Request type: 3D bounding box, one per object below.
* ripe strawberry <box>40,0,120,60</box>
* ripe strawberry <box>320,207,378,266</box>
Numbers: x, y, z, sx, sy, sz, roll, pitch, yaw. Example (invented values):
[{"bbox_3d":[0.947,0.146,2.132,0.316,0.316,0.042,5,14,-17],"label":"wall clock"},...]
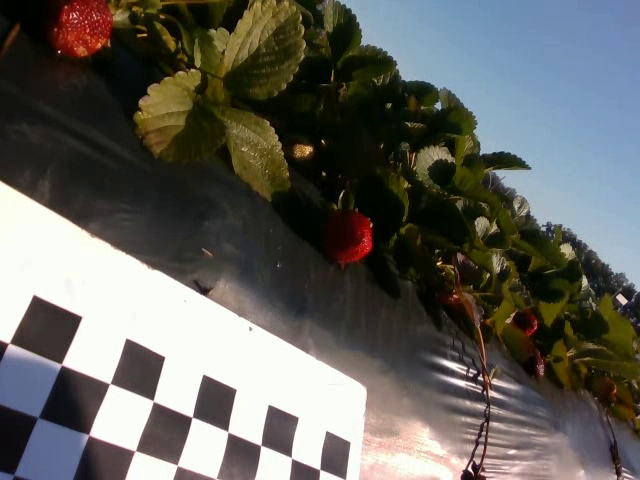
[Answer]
[{"bbox_3d":[-0.125,-0.110,0.292,0.042,0.043,0.053,48,1,-27],"label":"ripe strawberry"},{"bbox_3d":[0.021,-0.001,0.390,0.043,0.043,0.050,-27,9,-7],"label":"ripe strawberry"}]
